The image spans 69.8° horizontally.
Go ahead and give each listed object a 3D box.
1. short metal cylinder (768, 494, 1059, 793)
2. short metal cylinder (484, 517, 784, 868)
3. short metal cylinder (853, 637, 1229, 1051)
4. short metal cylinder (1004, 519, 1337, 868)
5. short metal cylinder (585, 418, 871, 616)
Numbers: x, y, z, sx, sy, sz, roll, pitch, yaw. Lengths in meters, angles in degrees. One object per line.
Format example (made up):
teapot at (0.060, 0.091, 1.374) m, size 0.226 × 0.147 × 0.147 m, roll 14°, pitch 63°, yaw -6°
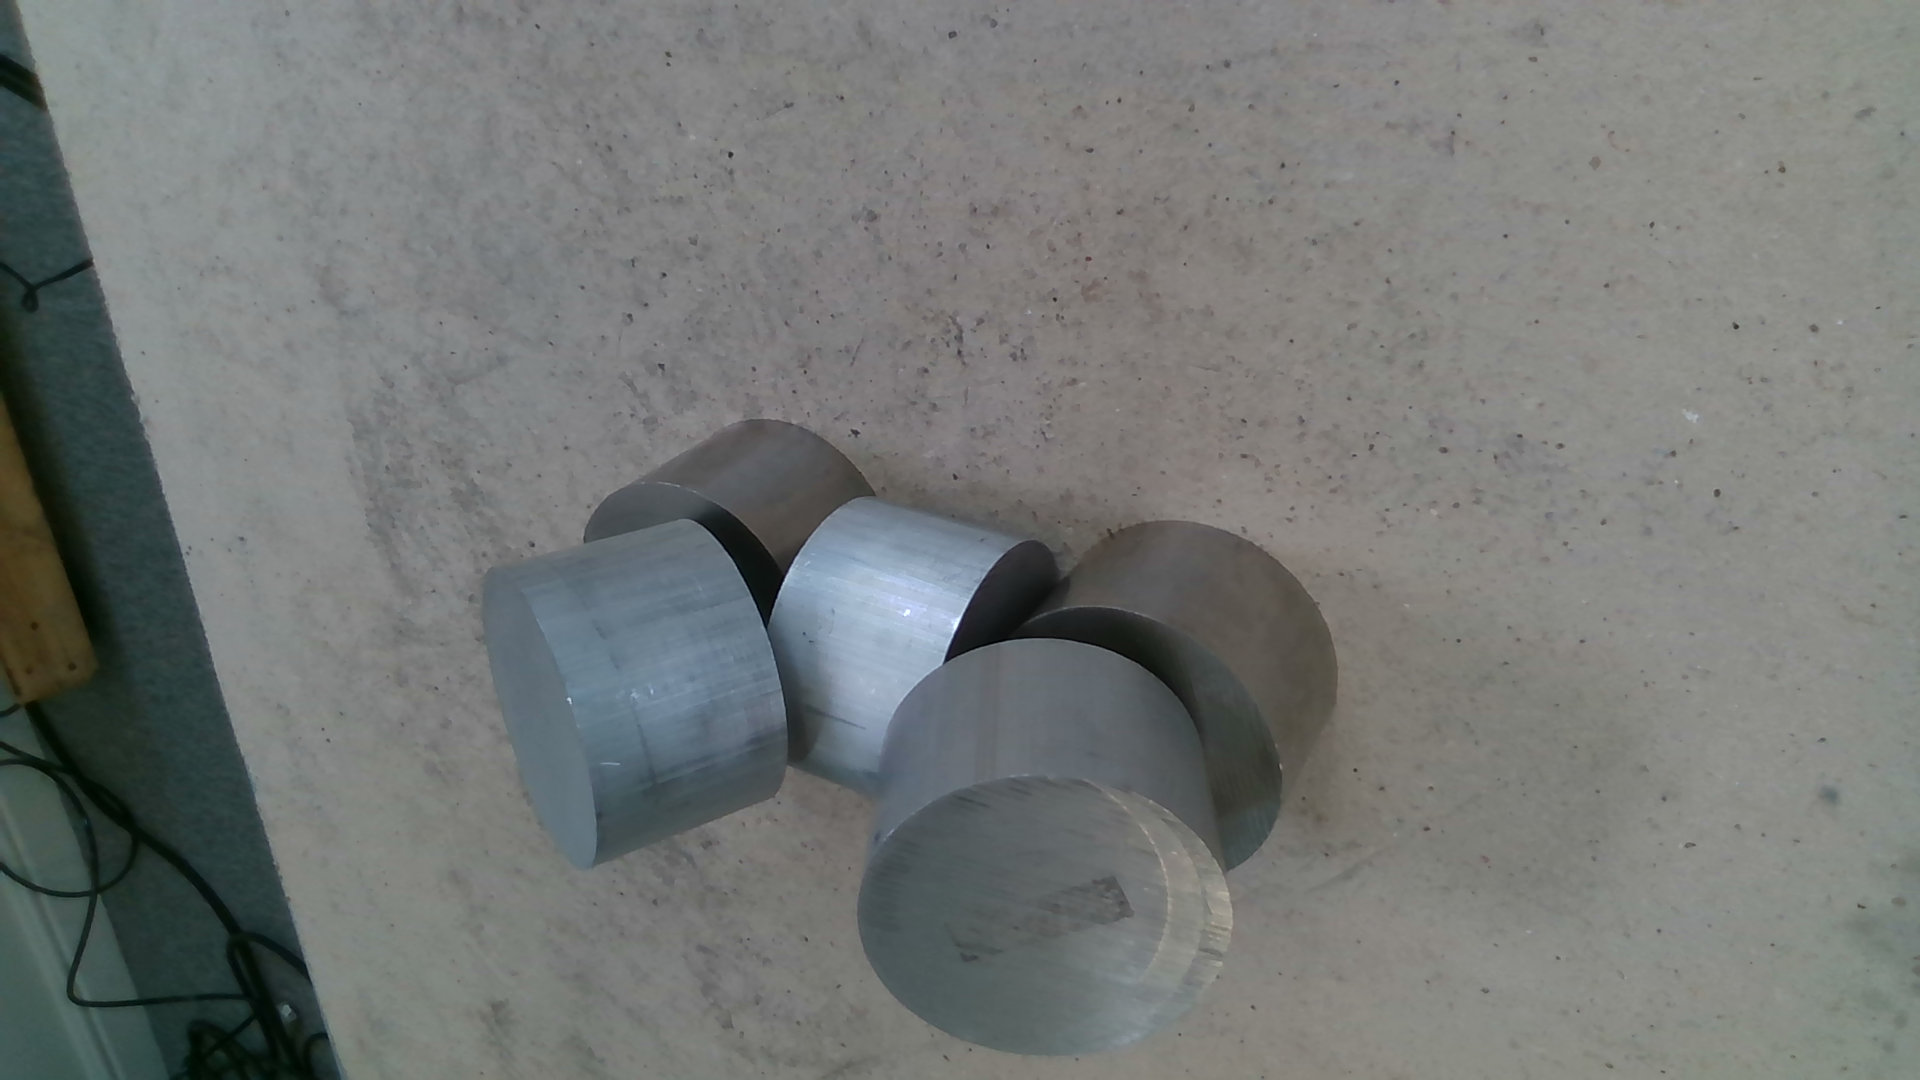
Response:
short metal cylinder at (-0.012, 0.032, 0.379) m, size 0.050 × 0.080 × 0.080 m, roll 16°, pitch 122°, yaw 24°
short metal cylinder at (-0.087, 0.039, 0.362) m, size 0.080 × 0.050 × 0.080 m, roll 34°, pitch 132°, yaw 48°
short metal cylinder at (0.018, 0.070, 0.316) m, size 0.080 × 0.050 × 0.080 m, roll 1°, pitch 119°, yaw 3°
short metal cylinder at (0.053, 0.041, 0.364) m, size 0.080 × 0.050 × 0.080 m, roll 15°, pitch 122°, yaw 25°
short metal cylinder at (-0.067, 0.009, 0.419) m, size 0.080 × 0.050 × 0.080 m, roll 15°, pitch 122°, yaw 25°
